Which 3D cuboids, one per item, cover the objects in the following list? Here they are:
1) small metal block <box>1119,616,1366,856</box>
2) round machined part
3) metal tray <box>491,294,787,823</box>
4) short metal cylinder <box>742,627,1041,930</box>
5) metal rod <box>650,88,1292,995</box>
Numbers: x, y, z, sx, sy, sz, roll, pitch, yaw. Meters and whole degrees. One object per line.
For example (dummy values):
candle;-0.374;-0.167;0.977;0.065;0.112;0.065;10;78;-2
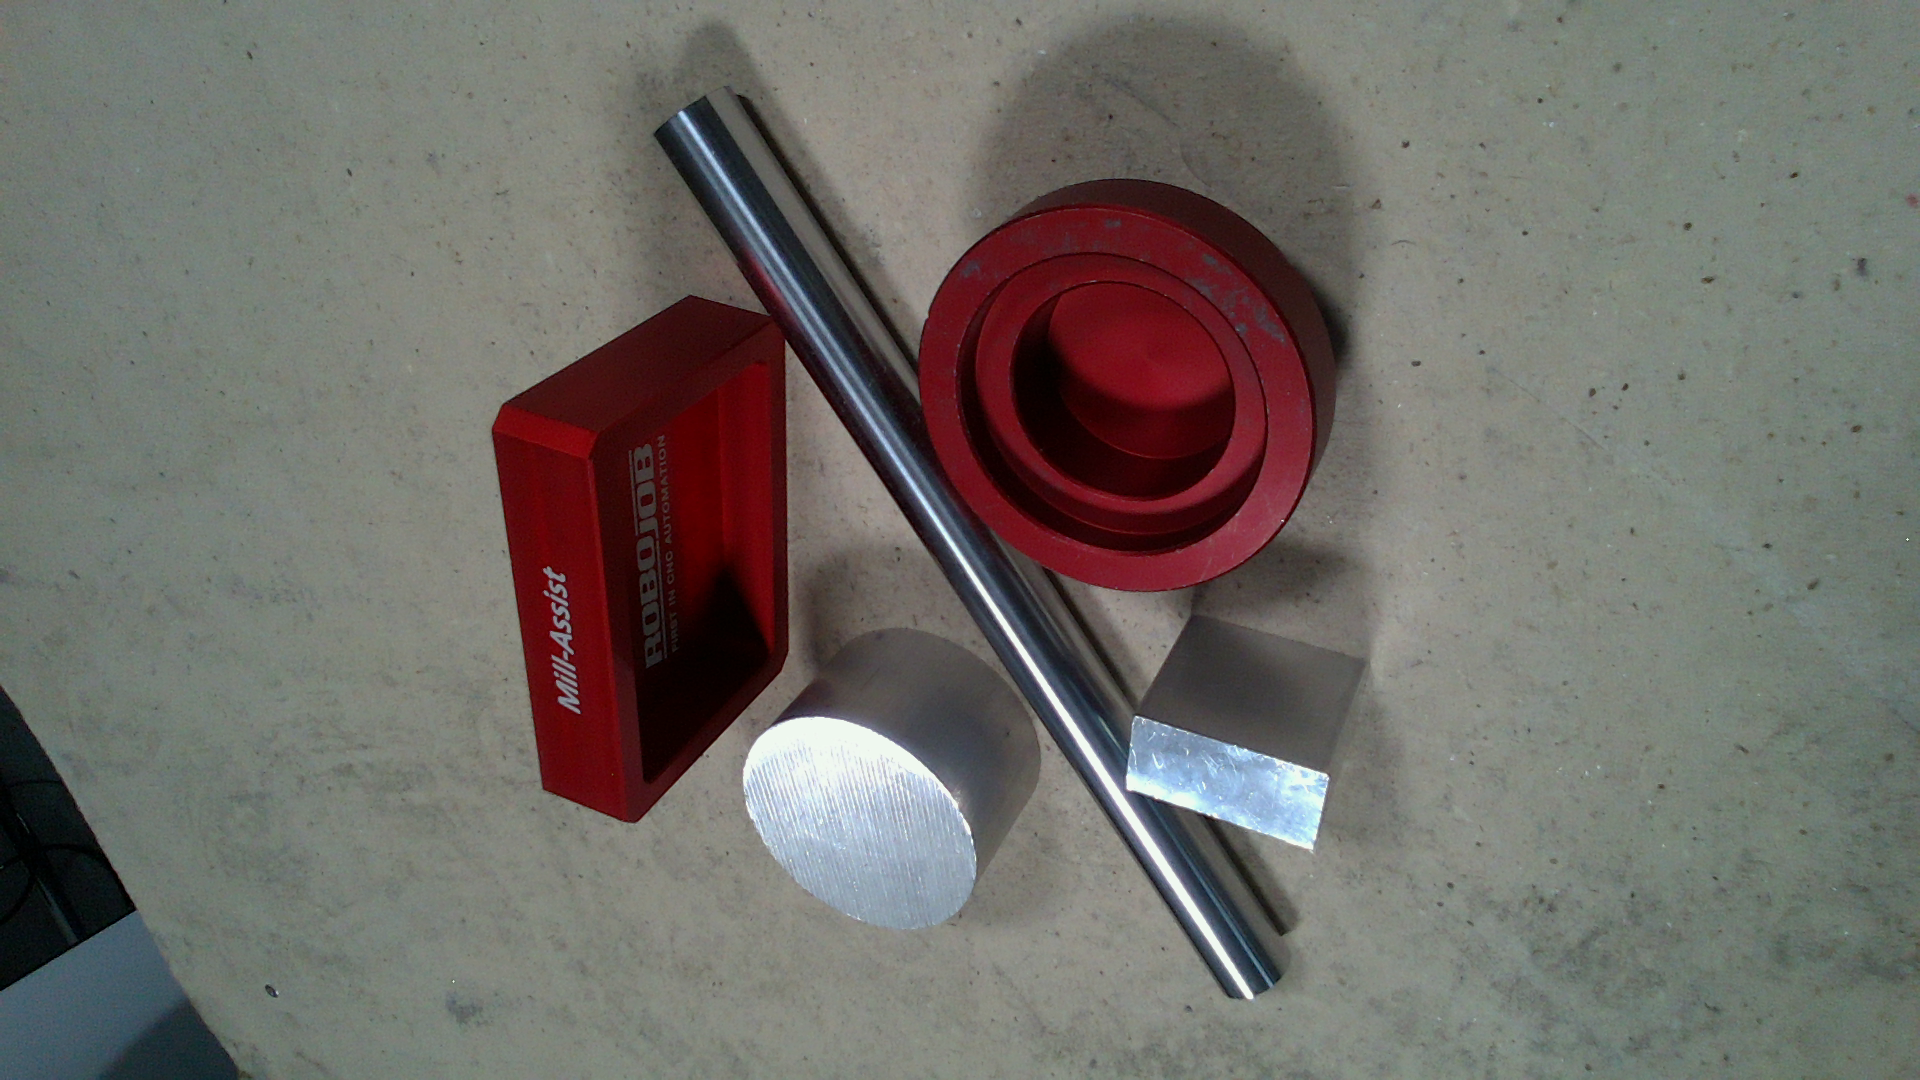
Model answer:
small metal block;0.075;0.050;0.364;0.050;0.050;0.025;16;125;20
round machined part;0.042;-0.040;0.335;0.098;0.042;0.098;13;124;21
metal tray;-0.087;0.005;0.401;0.030;0.090;0.130;17;125;19
short metal cylinder;-0.021;0.075;0.434;0.080;0.050;0.080;13;124;21
metal rod;0.010;0.010;0.395;0.025;0.025;0.300;-24;105;37
